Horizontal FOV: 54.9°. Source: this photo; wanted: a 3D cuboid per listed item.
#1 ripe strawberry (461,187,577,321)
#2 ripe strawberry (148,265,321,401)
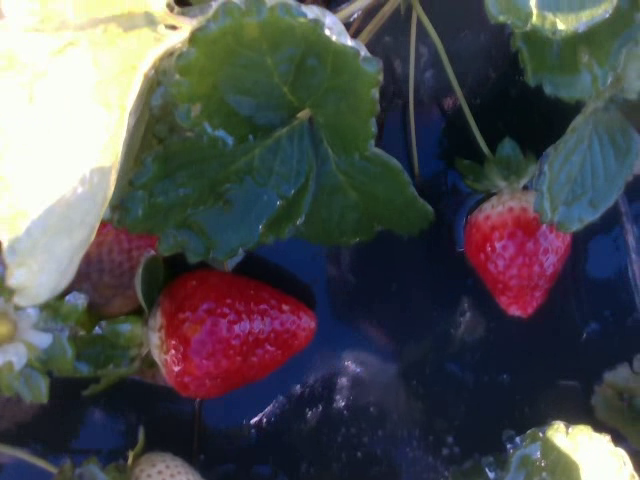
[{"bbox_3d":[0.067,0.006,0.197,0.039,0.047,0.040,-11,17,-15],"label":"ripe strawberry"},{"bbox_3d":[-0.024,0.034,0.194,0.056,0.044,0.040,-1,25,-20],"label":"ripe strawberry"}]
